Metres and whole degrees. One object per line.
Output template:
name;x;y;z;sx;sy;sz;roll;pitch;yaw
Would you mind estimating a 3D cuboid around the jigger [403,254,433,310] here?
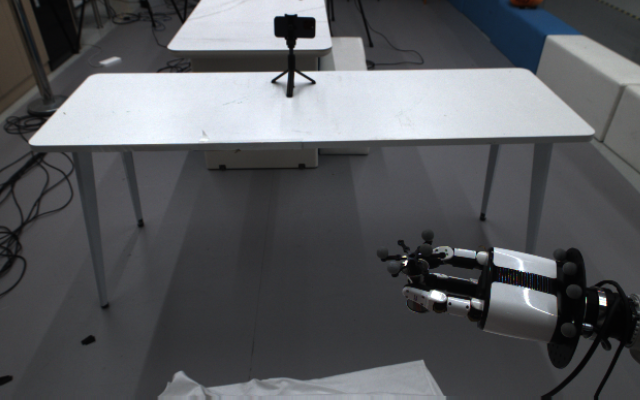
jigger;0.140;0.121;0.689;0.043;0.071;0.043;-12;29;7
